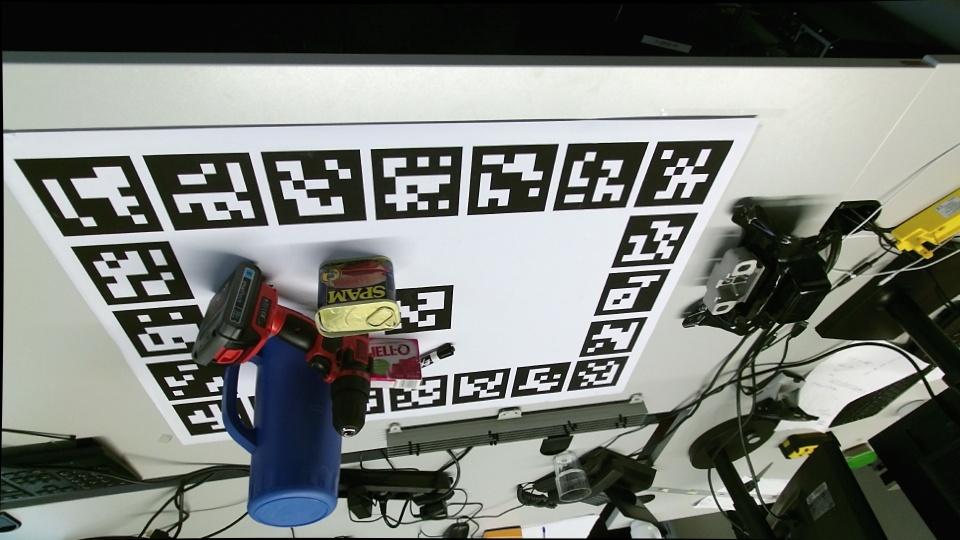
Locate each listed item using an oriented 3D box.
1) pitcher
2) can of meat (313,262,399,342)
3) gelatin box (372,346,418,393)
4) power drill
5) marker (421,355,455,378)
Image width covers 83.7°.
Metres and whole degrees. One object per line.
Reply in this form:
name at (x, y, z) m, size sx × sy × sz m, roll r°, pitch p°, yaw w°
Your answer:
pitcher at (-0.271, 0.218, 0.737) m, size 0.189 × 0.241 × 0.133 m, roll 18°, pitch 123°, yaw -37°
can of meat at (-0.160, 0.040, 0.691) m, size 0.102 × 0.083 × 0.058 m, roll -6°, pitch 136°, yaw -9°
gelatin box at (-0.143, 0.150, 0.814) m, size 0.090 × 0.073 × 0.030 m, roll 4°, pitch 127°, yaw -16°
power drill at (-0.222, 0.123, 0.691) m, size 0.188 × 0.183 × 0.057 m, roll 28°, pitch 118°, yaw -27°
marker at (-0.097, 0.170, 0.878) m, size 0.121 × 0.019 × 0.020 m, roll -25°, pitch 133°, yaw 8°
